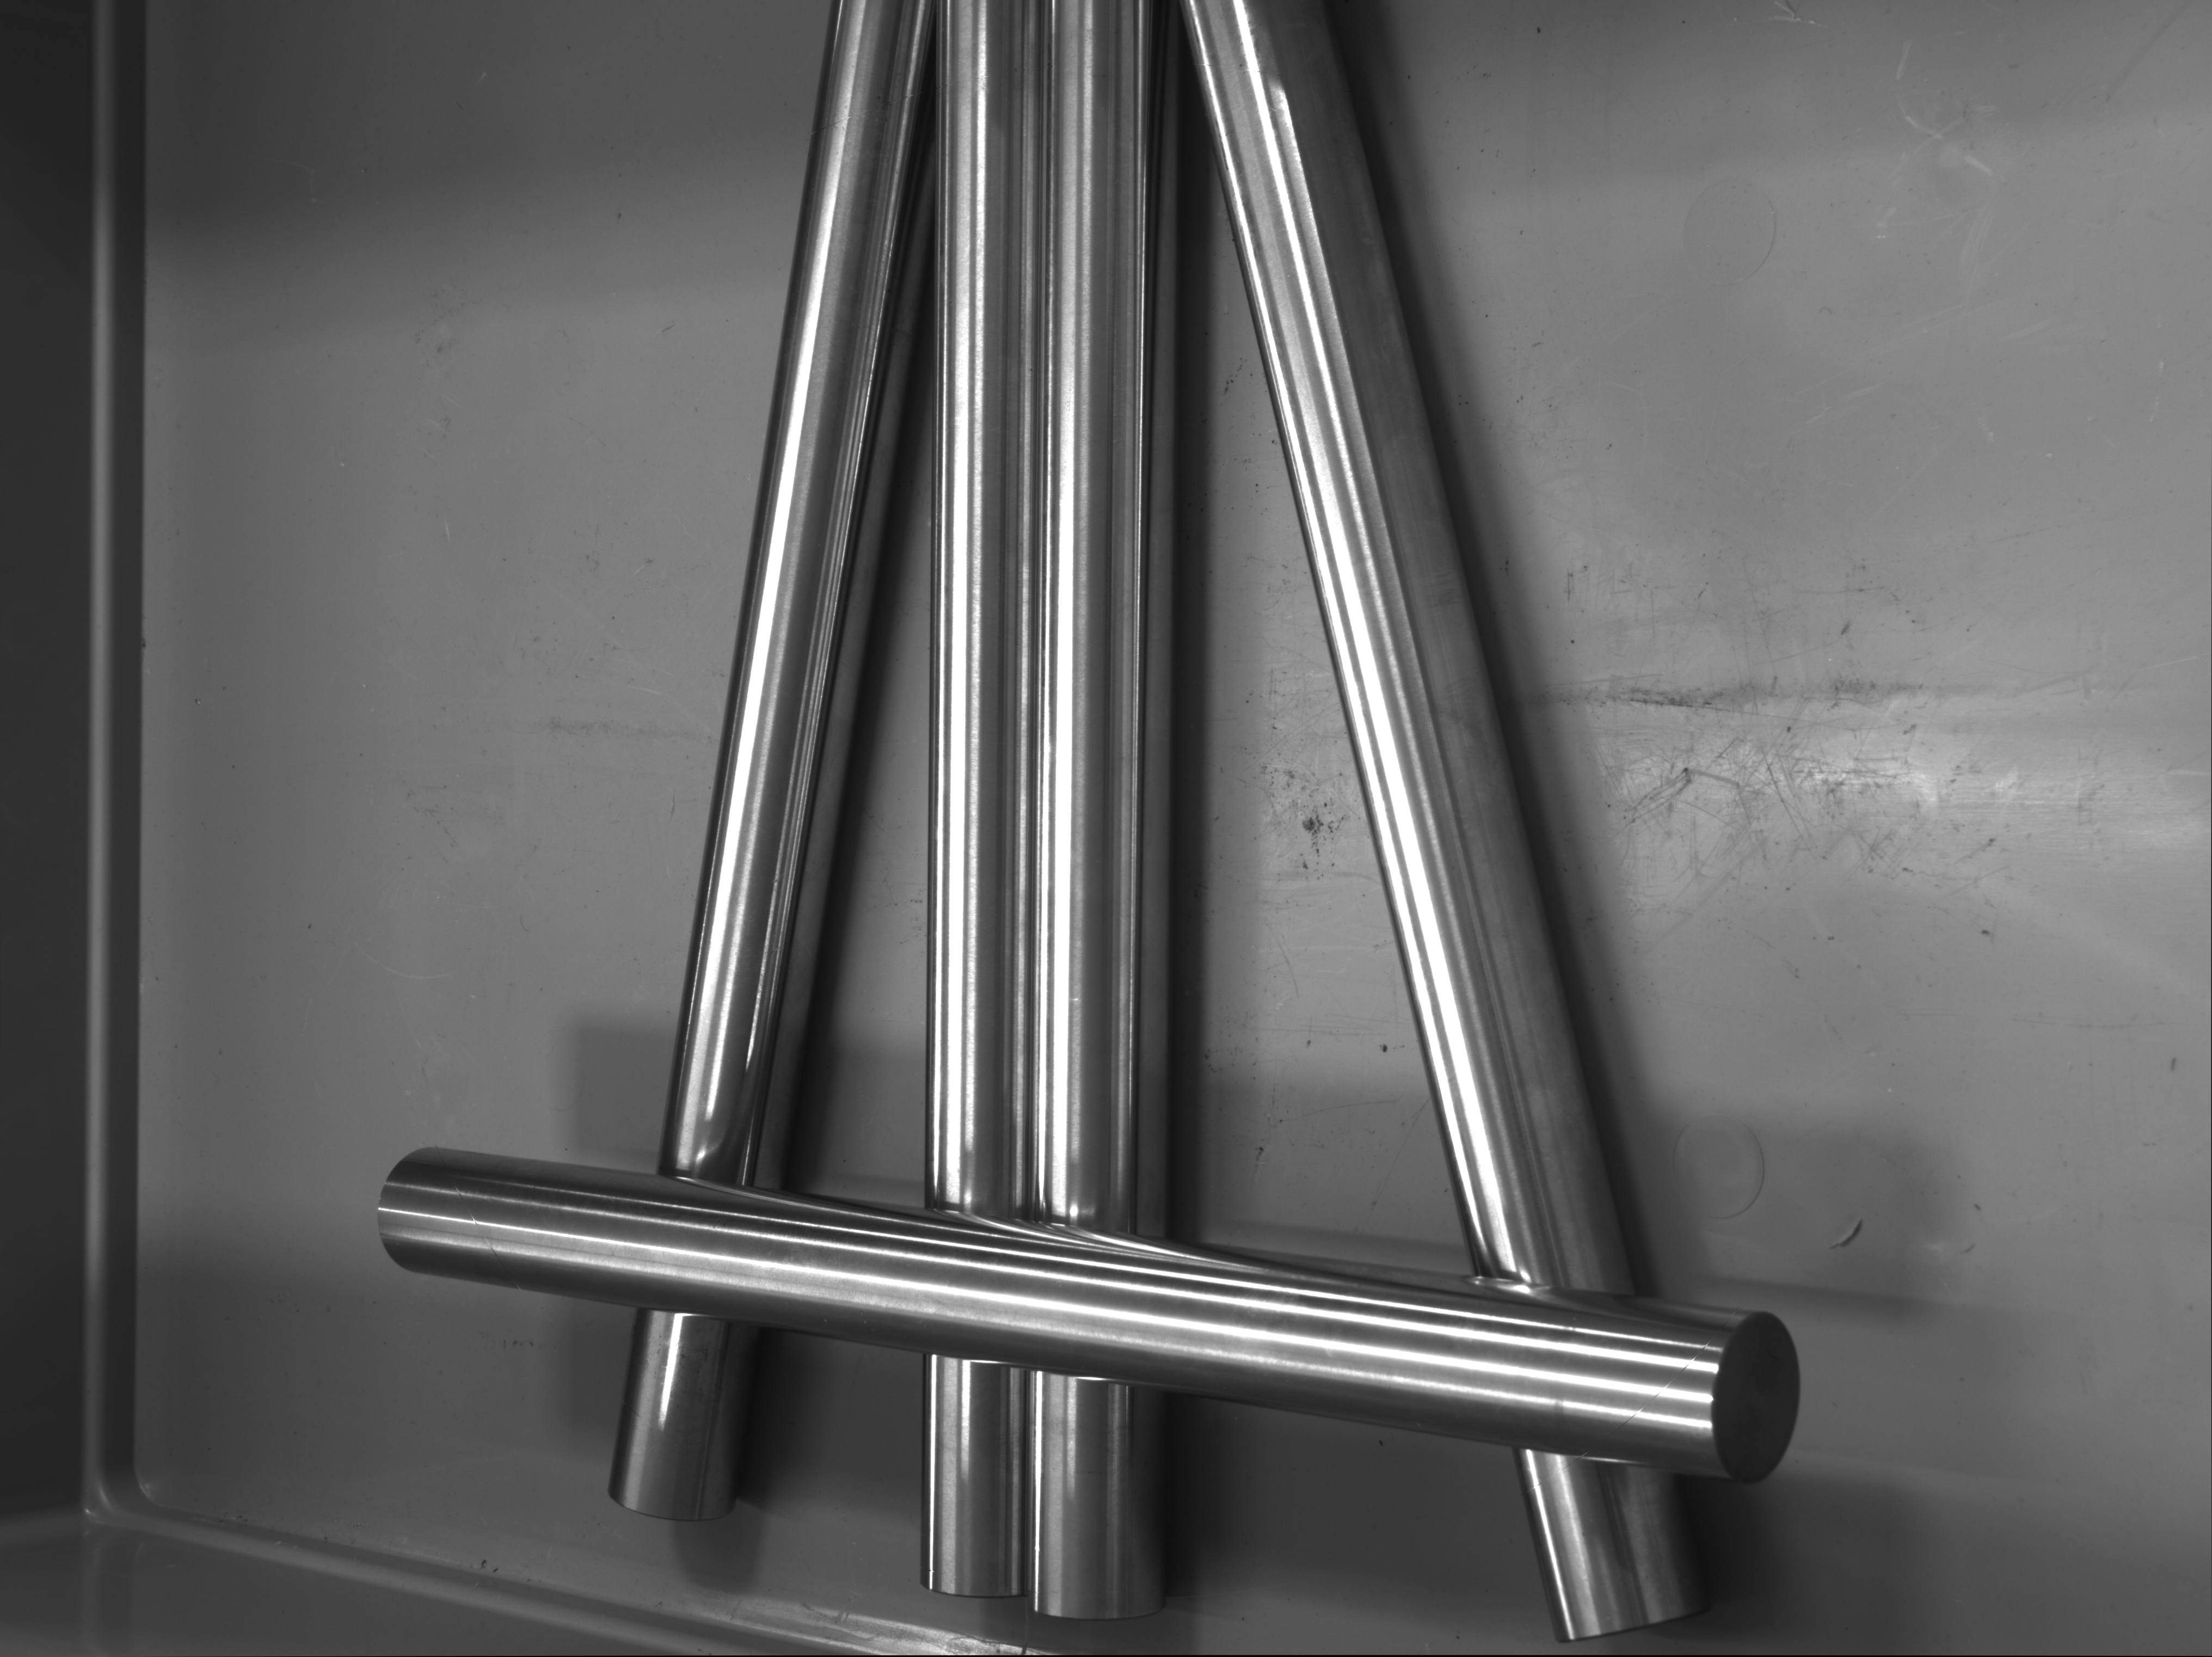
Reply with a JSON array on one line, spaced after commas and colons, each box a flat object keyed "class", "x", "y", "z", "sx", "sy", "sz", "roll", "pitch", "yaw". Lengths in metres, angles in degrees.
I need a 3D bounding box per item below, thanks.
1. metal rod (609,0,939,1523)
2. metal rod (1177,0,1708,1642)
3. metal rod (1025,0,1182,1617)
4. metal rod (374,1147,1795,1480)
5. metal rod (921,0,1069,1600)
[{"class": "metal rod", "x": -0.061, "y": -0.016, "z": 0.695, "sx": 0.025, "sy": 0.025, "sz": 0.300, "roll": 16, "pitch": 100, "yaw": 39}, {"class": "metal rod", "x": 0.051, "y": -0.019, "z": 0.601, "sx": 0.025, "sy": 0.025, "sz": 0.300, "roll": -20, "pitch": 77, "yaw": 38}, {"class": "metal rod", "x": 0.000, "y": -0.014, "z": 0.644, "sx": 0.025, "sy": 0.025, "sz": 0.300, "roll": 1, "pitch": 90, "yaw": 40}, {"class": "metal rod", "x": -0.021, "y": 0.078, "z": 0.627, "sx": 0.299, "sy": 0.025, "sz": 0.025, "roll": 2, "pitch": 91, "yaw": 40}, {"class": "metal rod", "x": -0.019, "y": -0.014, "z": 0.660, "sx": 0.025, "sy": 0.025, "sz": 0.300, "roll": 1, "pitch": 91, "yaw": 40}]
